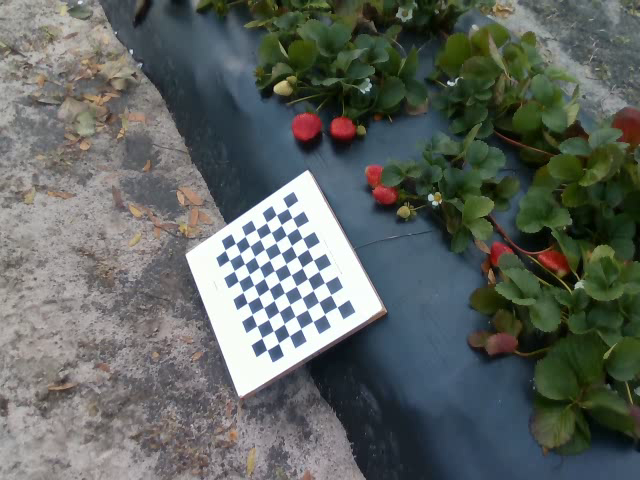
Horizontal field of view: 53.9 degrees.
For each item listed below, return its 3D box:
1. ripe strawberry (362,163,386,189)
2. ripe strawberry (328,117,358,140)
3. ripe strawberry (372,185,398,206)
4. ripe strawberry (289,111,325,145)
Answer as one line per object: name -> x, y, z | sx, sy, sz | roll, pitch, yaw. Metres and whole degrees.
ripe strawberry -> 0.096, -0.110, 1.074 | 0.053, 0.047, 0.039 | 34, 6, 0
ripe strawberry -> 0.038, -0.201, 1.136 | 0.050, 0.051, 0.060 | -15, 17, 28
ripe strawberry -> 0.105, -0.079, 1.044 | 0.049, 0.044, 0.041 | -1, -43, -41
ripe strawberry -> -0.027, -0.203, 1.140 | 0.058, 0.065, 0.044 | -9, -38, 30
